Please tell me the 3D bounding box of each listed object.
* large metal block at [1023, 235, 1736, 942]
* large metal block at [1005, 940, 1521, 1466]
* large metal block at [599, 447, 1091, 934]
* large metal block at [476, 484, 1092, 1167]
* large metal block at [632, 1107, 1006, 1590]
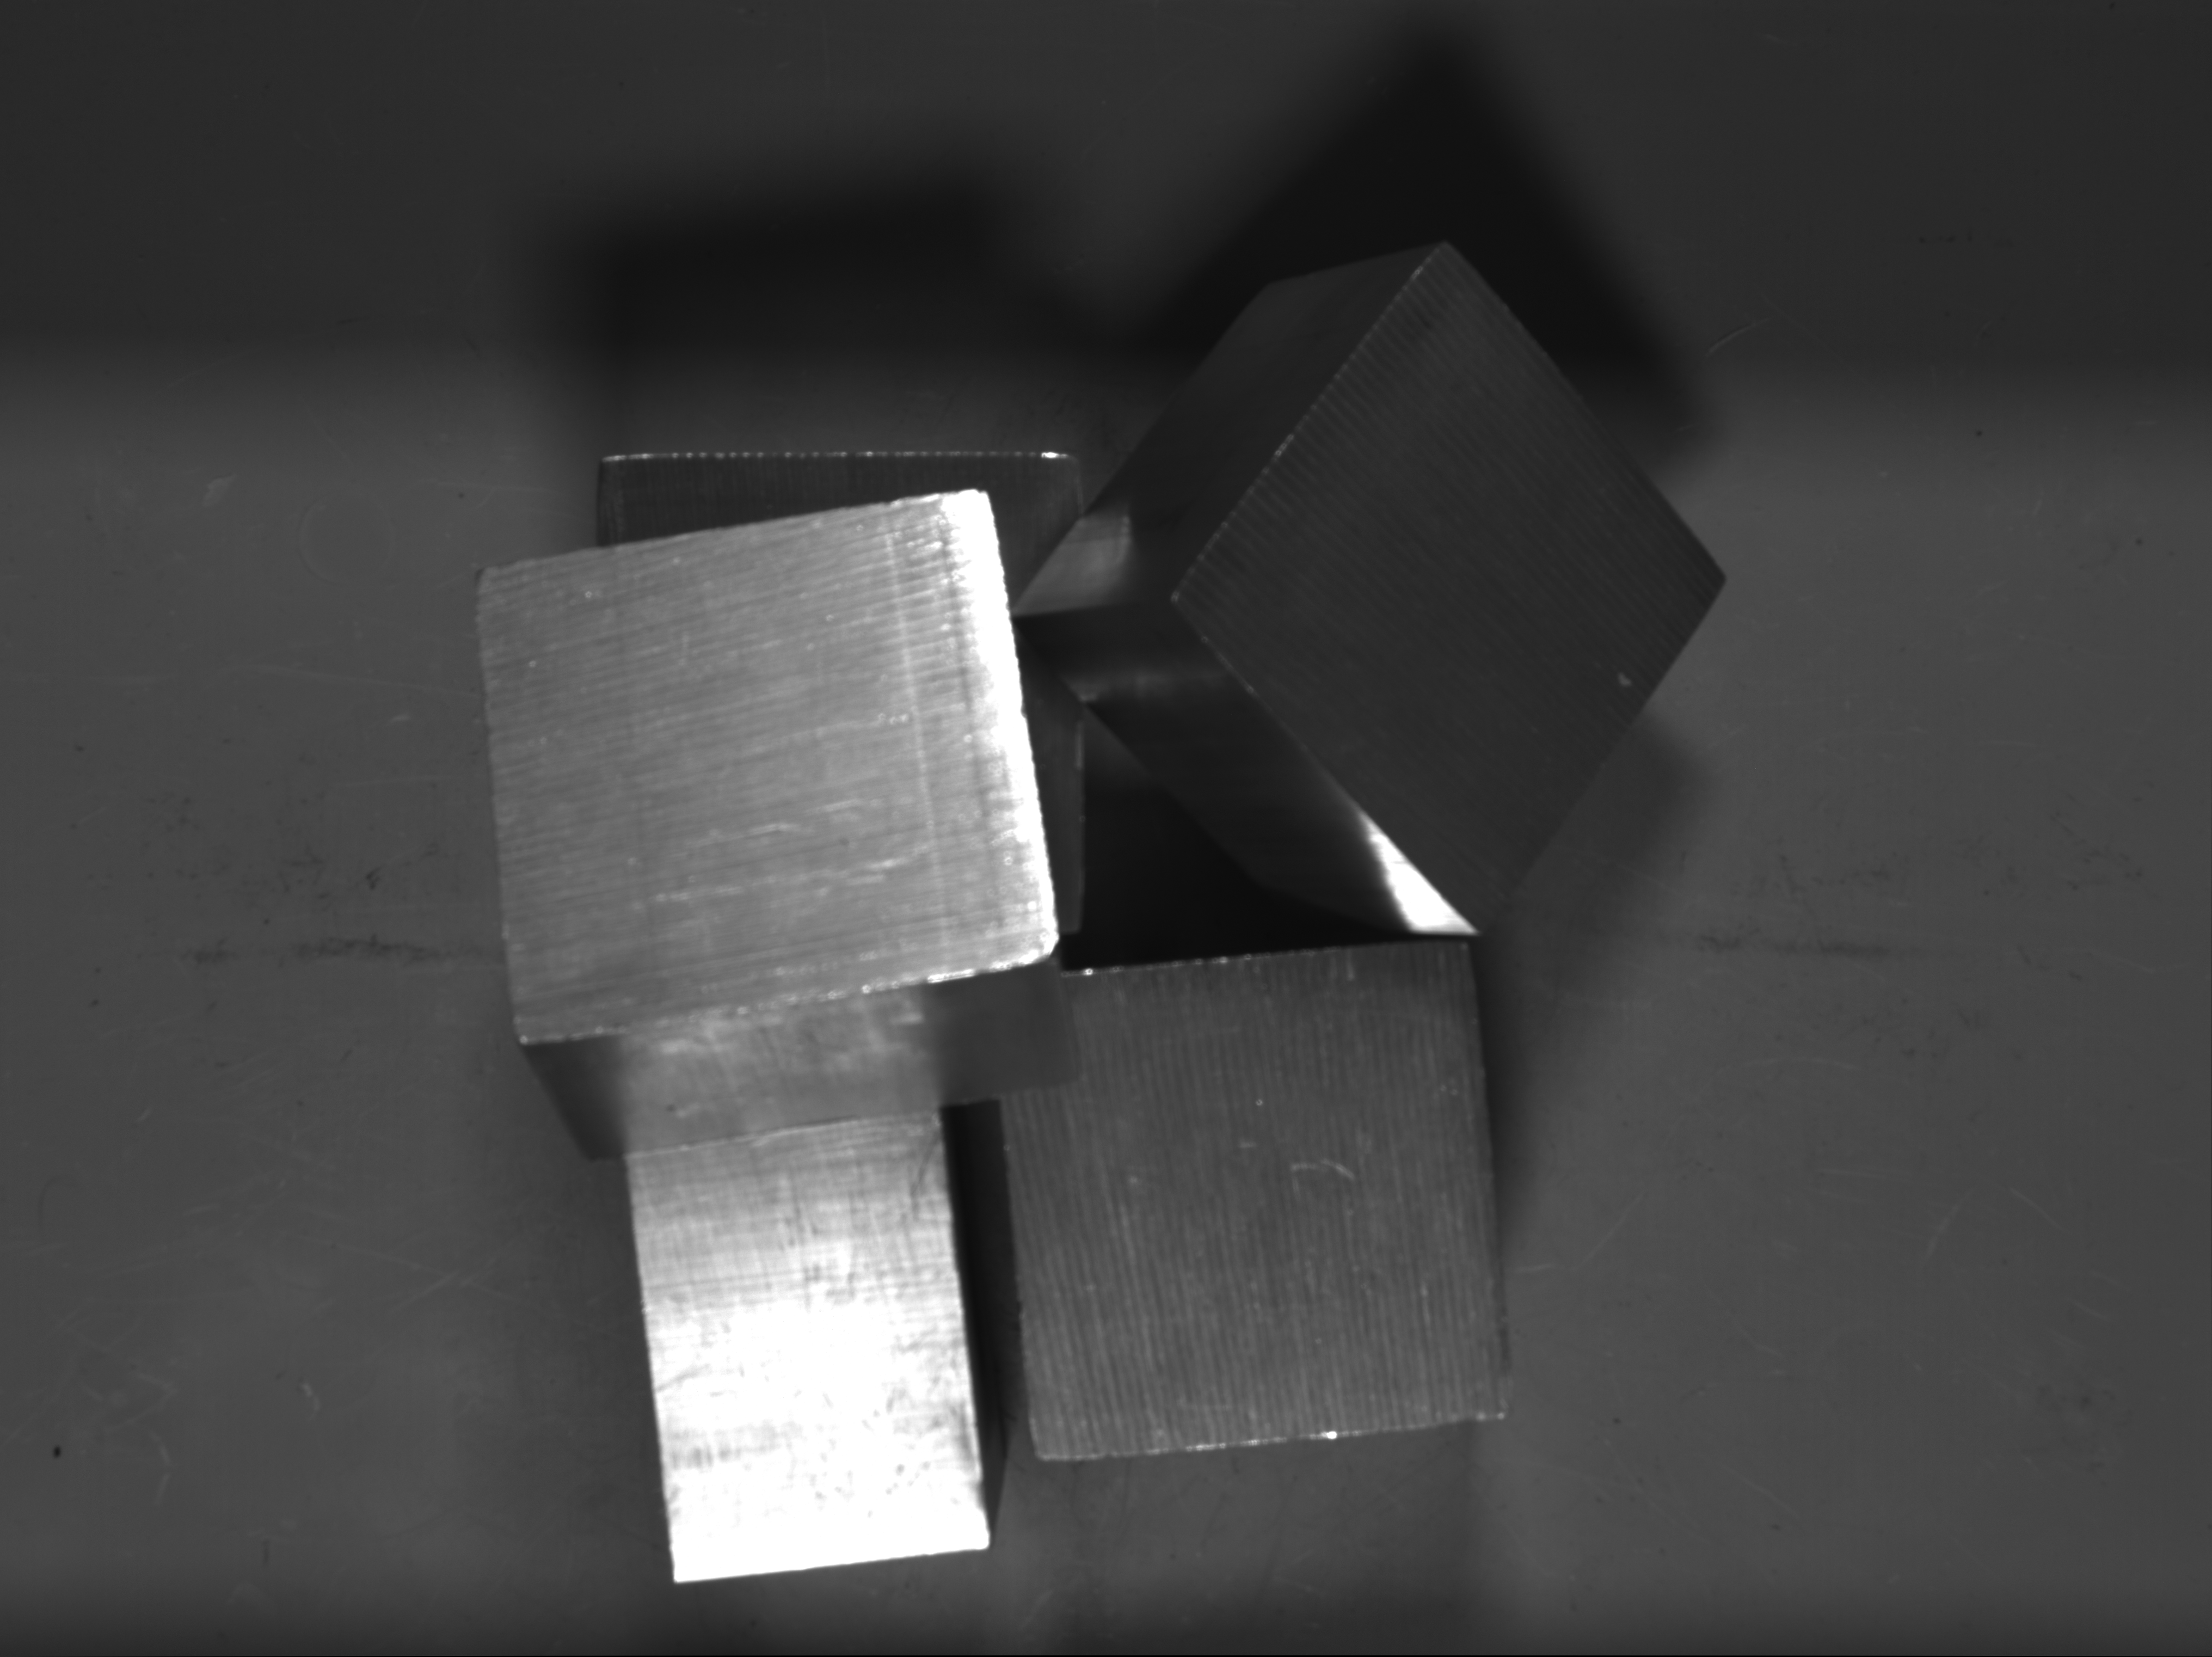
[{"bbox_3d":[0.045,-0.038,0.607,0.080,0.050,0.080,46,67,-23],"label":"large metal block"},{"bbox_3d":[0.025,0.062,0.629,0.080,0.050,0.080,-5,90,0],"label":"large metal block"},{"bbox_3d":[-0.043,-0.022,0.631,0.080,0.050,0.080,-1,90,0],"label":"large metal block"},{"bbox_3d":[-0.049,0.000,0.566,0.080,0.050,0.080,-9,65,0],"label":"large metal block"},{"bbox_3d":[-0.047,0.077,0.616,0.050,0.080,0.080,-7,90,0],"label":"large metal block"}]
